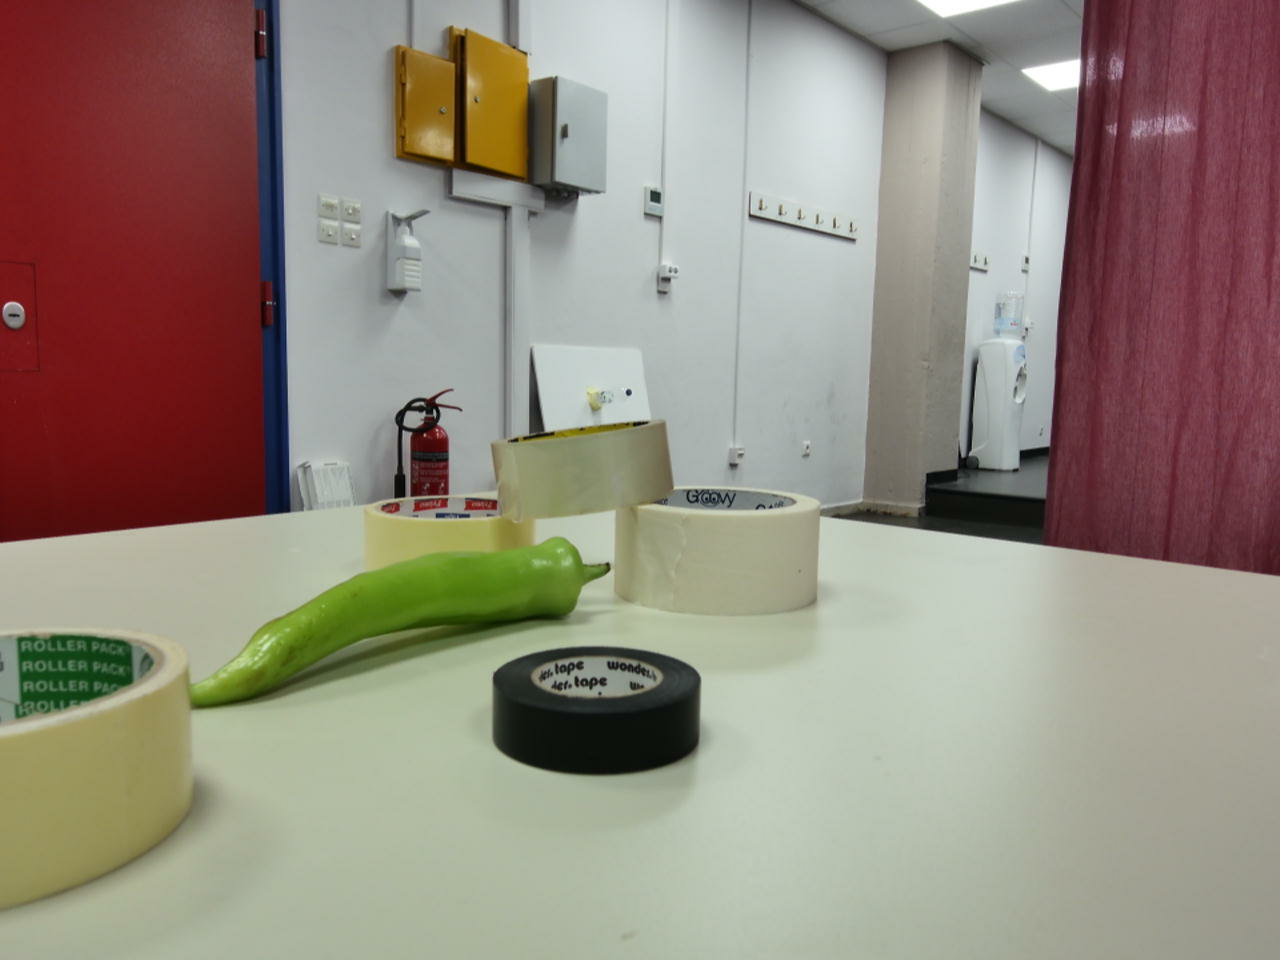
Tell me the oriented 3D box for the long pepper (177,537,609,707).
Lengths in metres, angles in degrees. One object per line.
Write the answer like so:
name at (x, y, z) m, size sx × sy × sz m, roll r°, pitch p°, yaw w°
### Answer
long pepper at (-0.094, 0.050, 0.408) m, size 0.047 × 0.038 × 0.197 m, roll 3°, pitch 5°, yaw 41°
